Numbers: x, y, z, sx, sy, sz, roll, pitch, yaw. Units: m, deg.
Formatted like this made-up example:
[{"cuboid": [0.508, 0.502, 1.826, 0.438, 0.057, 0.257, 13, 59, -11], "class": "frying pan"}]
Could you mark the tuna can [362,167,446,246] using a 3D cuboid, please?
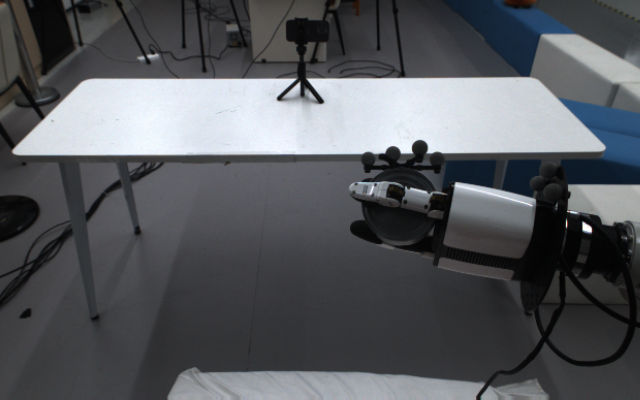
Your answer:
[{"cuboid": [0.093, 0.006, 0.551, 0.085, 0.034, 0.085, -4, 70, 11], "class": "tuna can"}]
